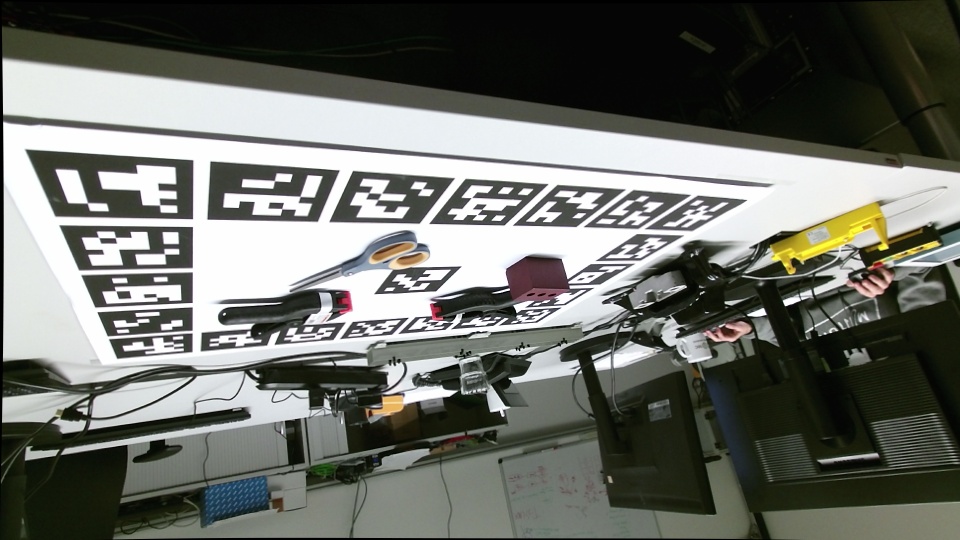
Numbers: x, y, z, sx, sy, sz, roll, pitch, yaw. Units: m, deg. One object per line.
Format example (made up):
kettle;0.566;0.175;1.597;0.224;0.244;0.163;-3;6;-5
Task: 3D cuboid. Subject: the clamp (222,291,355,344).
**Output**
clamp;-0.261;0.064;0.768;0.166;0.036;0.122;-14;152;-3

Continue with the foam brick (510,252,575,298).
foam brick;0.098;0.007;0.828;0.078;0.051;0.053;-3;155;-38

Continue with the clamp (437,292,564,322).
clamp;0.023;0.062;0.931;0.203;0.036;0.165;-3;159;-25

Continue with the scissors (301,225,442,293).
scissors;-0.145;-0.003;0.683;0.203;0.016;0.088;-20;150;19
